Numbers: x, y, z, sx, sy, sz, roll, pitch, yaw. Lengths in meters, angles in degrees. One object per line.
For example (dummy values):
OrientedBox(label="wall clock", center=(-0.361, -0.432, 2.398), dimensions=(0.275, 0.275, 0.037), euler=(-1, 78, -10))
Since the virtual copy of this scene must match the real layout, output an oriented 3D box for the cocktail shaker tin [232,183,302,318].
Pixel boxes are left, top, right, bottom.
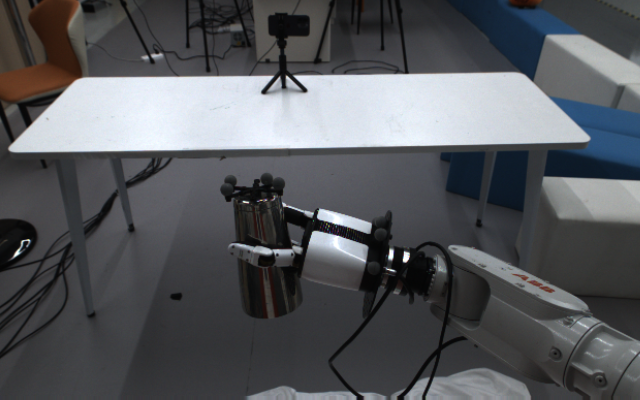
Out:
OrientedBox(label="cocktail shaker tin", center=(-0.080, 0.073, 0.696), dimensions=(0.093, 0.170, 0.093), euler=(-6, 19, 2))
